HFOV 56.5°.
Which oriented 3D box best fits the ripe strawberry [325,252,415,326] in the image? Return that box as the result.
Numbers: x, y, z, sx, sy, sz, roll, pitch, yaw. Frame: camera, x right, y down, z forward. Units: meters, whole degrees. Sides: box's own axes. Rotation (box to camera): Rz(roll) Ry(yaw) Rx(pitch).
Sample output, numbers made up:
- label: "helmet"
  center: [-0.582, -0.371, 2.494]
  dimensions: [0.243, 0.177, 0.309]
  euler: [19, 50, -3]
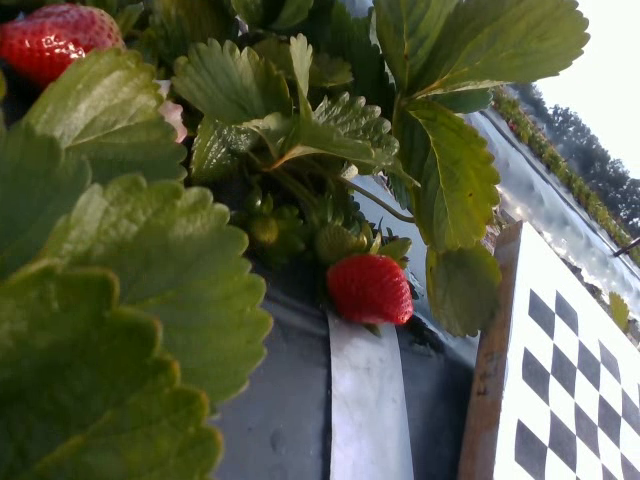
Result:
- label: "ripe strawberry"
  center: [0.029, 0.024, 0.257]
  dimensions: [0.035, 0.050, 0.055]
  euler: [-34, 24, 19]
